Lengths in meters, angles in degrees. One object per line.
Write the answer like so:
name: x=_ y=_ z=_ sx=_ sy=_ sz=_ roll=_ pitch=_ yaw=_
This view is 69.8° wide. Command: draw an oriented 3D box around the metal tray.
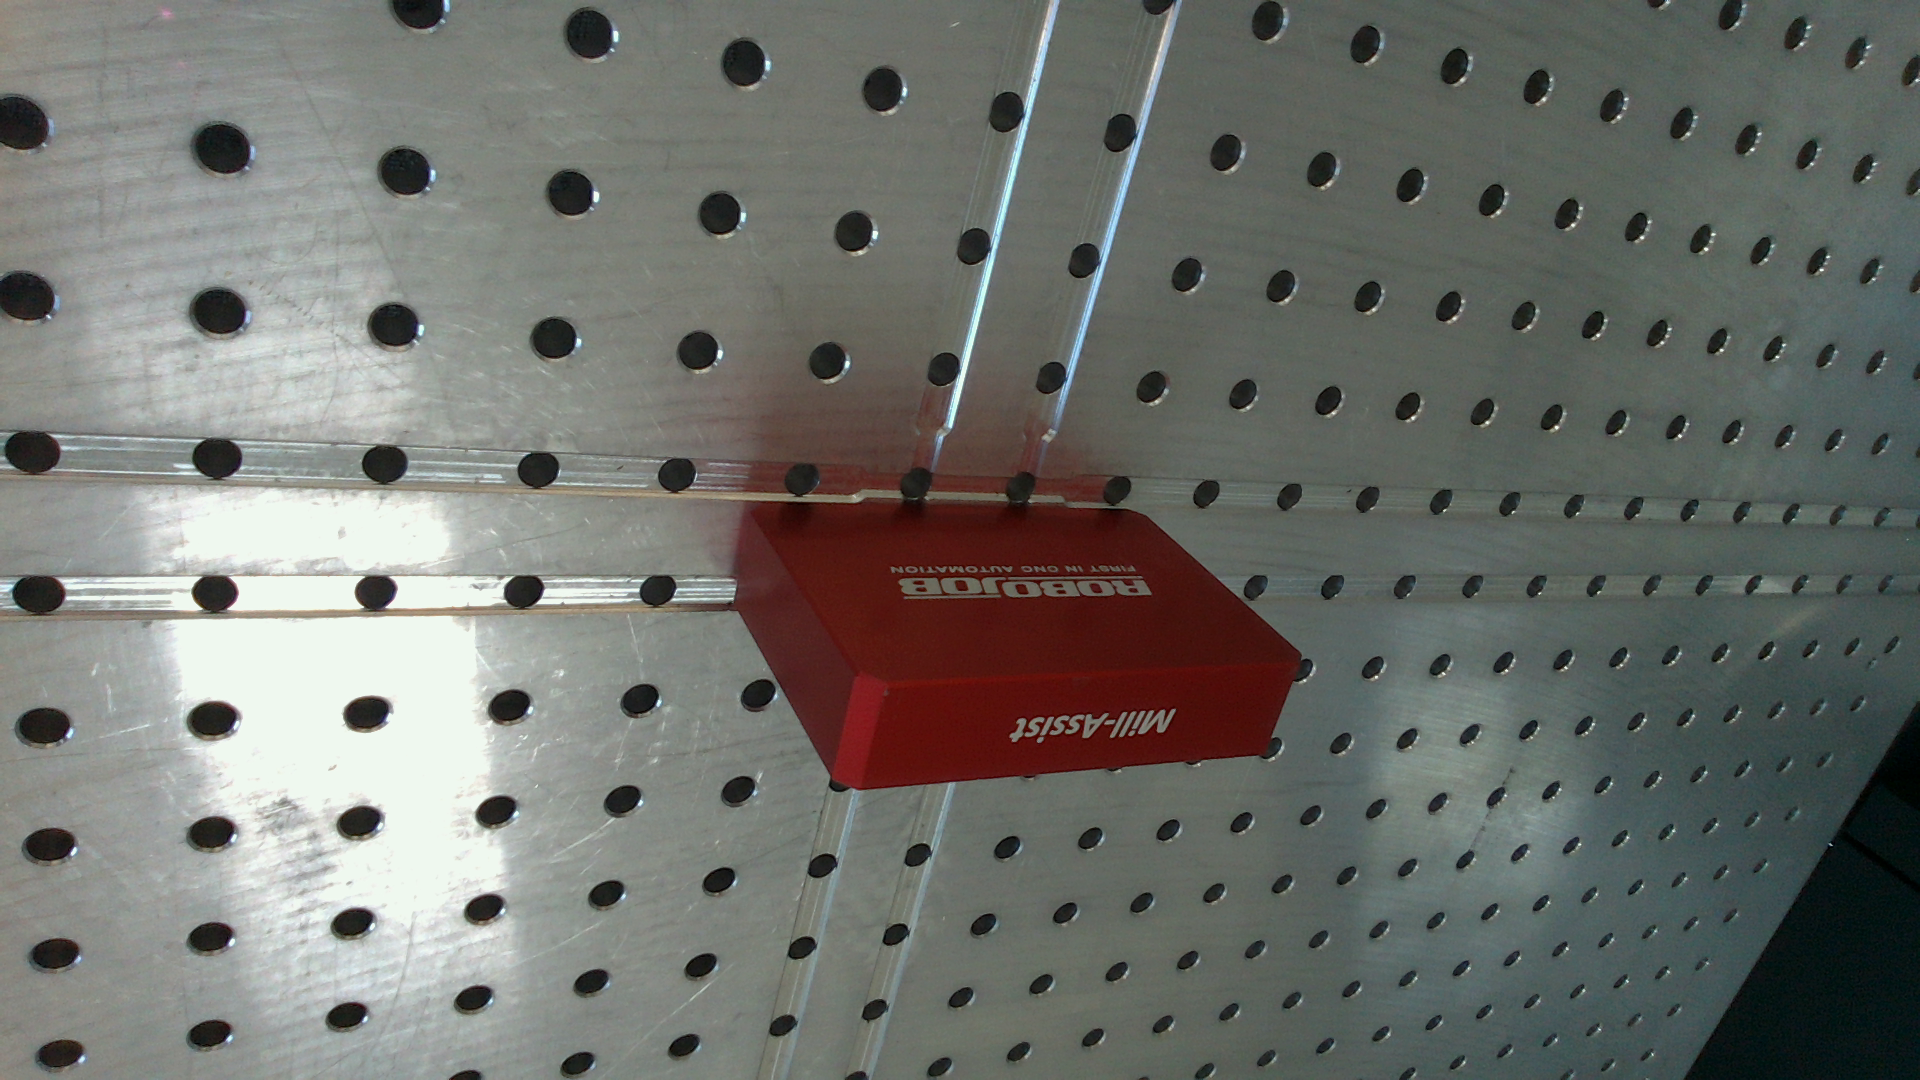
metal tray: x=0.014 y=0.024 z=0.372 sx=0.130 sy=0.090 sz=0.030 roll=0 pitch=119 yaw=-28
